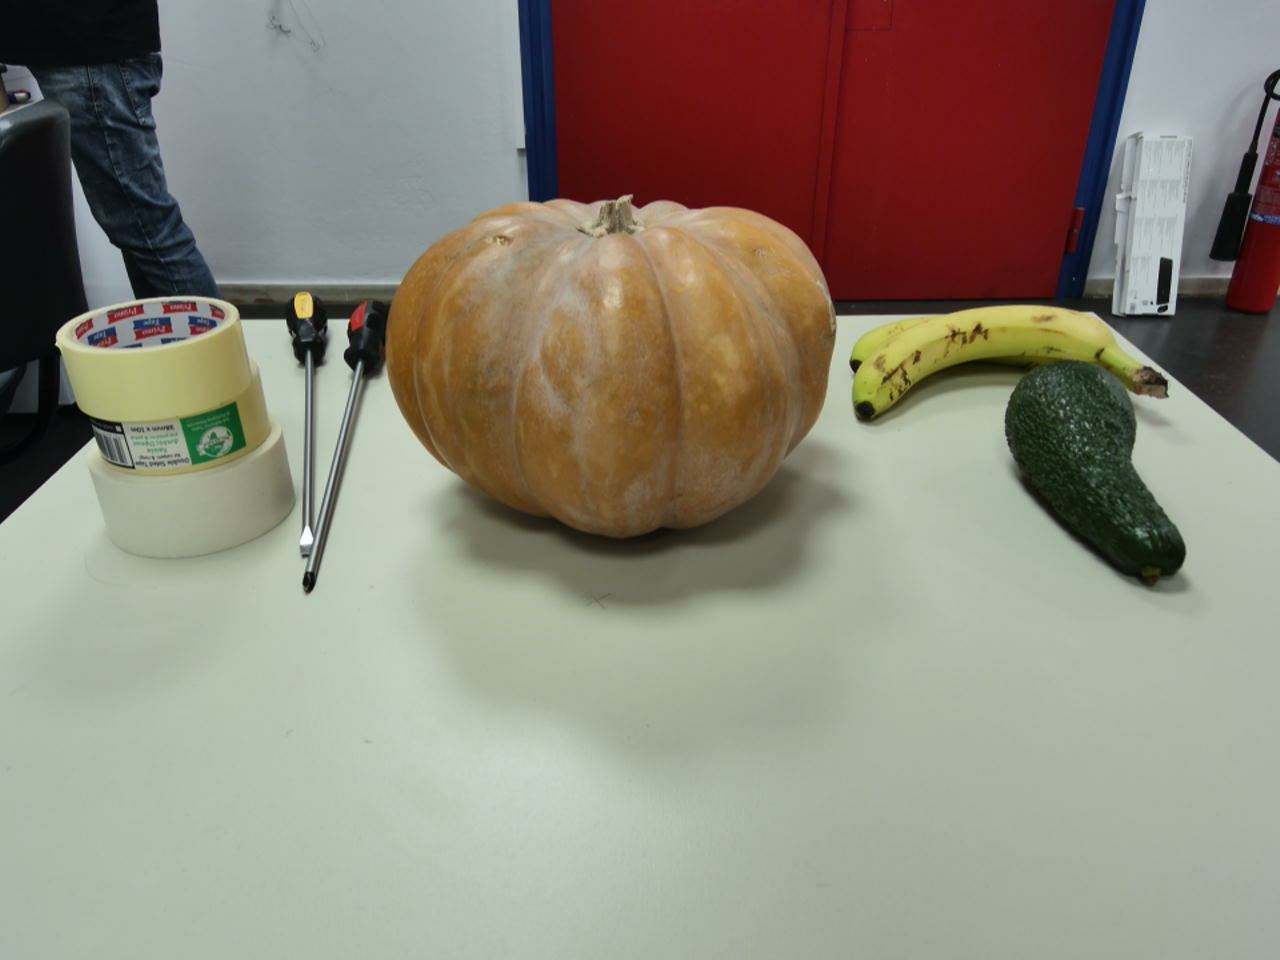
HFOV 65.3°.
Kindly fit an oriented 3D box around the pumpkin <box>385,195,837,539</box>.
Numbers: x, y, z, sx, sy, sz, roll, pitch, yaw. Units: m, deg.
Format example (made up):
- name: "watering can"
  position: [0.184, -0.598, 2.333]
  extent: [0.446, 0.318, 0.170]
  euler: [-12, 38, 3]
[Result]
- name: "pumpkin"
  position: [-0.015, -0.077, 0.602]
  extent: [0.277, 0.181, 0.277]
  euler: [0, 26, 0]
